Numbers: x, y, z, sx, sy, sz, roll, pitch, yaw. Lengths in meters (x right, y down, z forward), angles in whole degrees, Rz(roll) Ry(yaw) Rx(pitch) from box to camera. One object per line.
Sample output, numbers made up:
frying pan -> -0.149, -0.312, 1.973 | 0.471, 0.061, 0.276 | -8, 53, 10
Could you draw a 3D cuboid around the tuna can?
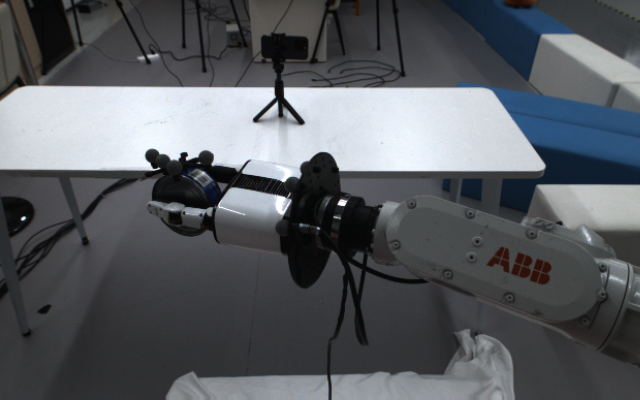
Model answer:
tuna can -> -0.164, 0.001, 0.609 | 0.085, 0.085, 0.034 | 14, 29, 17
